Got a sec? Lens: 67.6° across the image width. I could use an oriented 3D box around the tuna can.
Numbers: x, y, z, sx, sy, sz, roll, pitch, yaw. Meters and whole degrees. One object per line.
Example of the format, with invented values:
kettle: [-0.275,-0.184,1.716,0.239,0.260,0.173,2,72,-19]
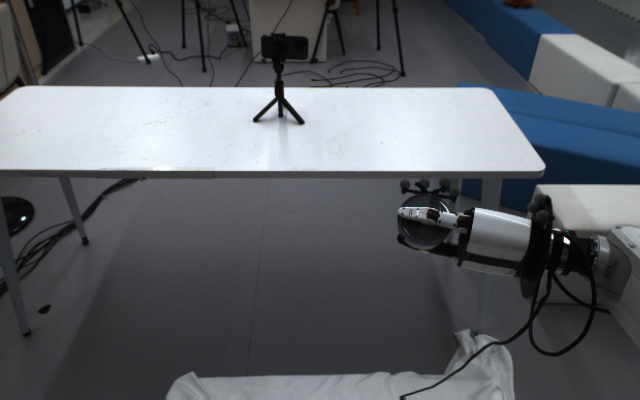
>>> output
tuna can: [0.166,0.030,0.768,0.085,0.034,0.085,-3,68,7]
